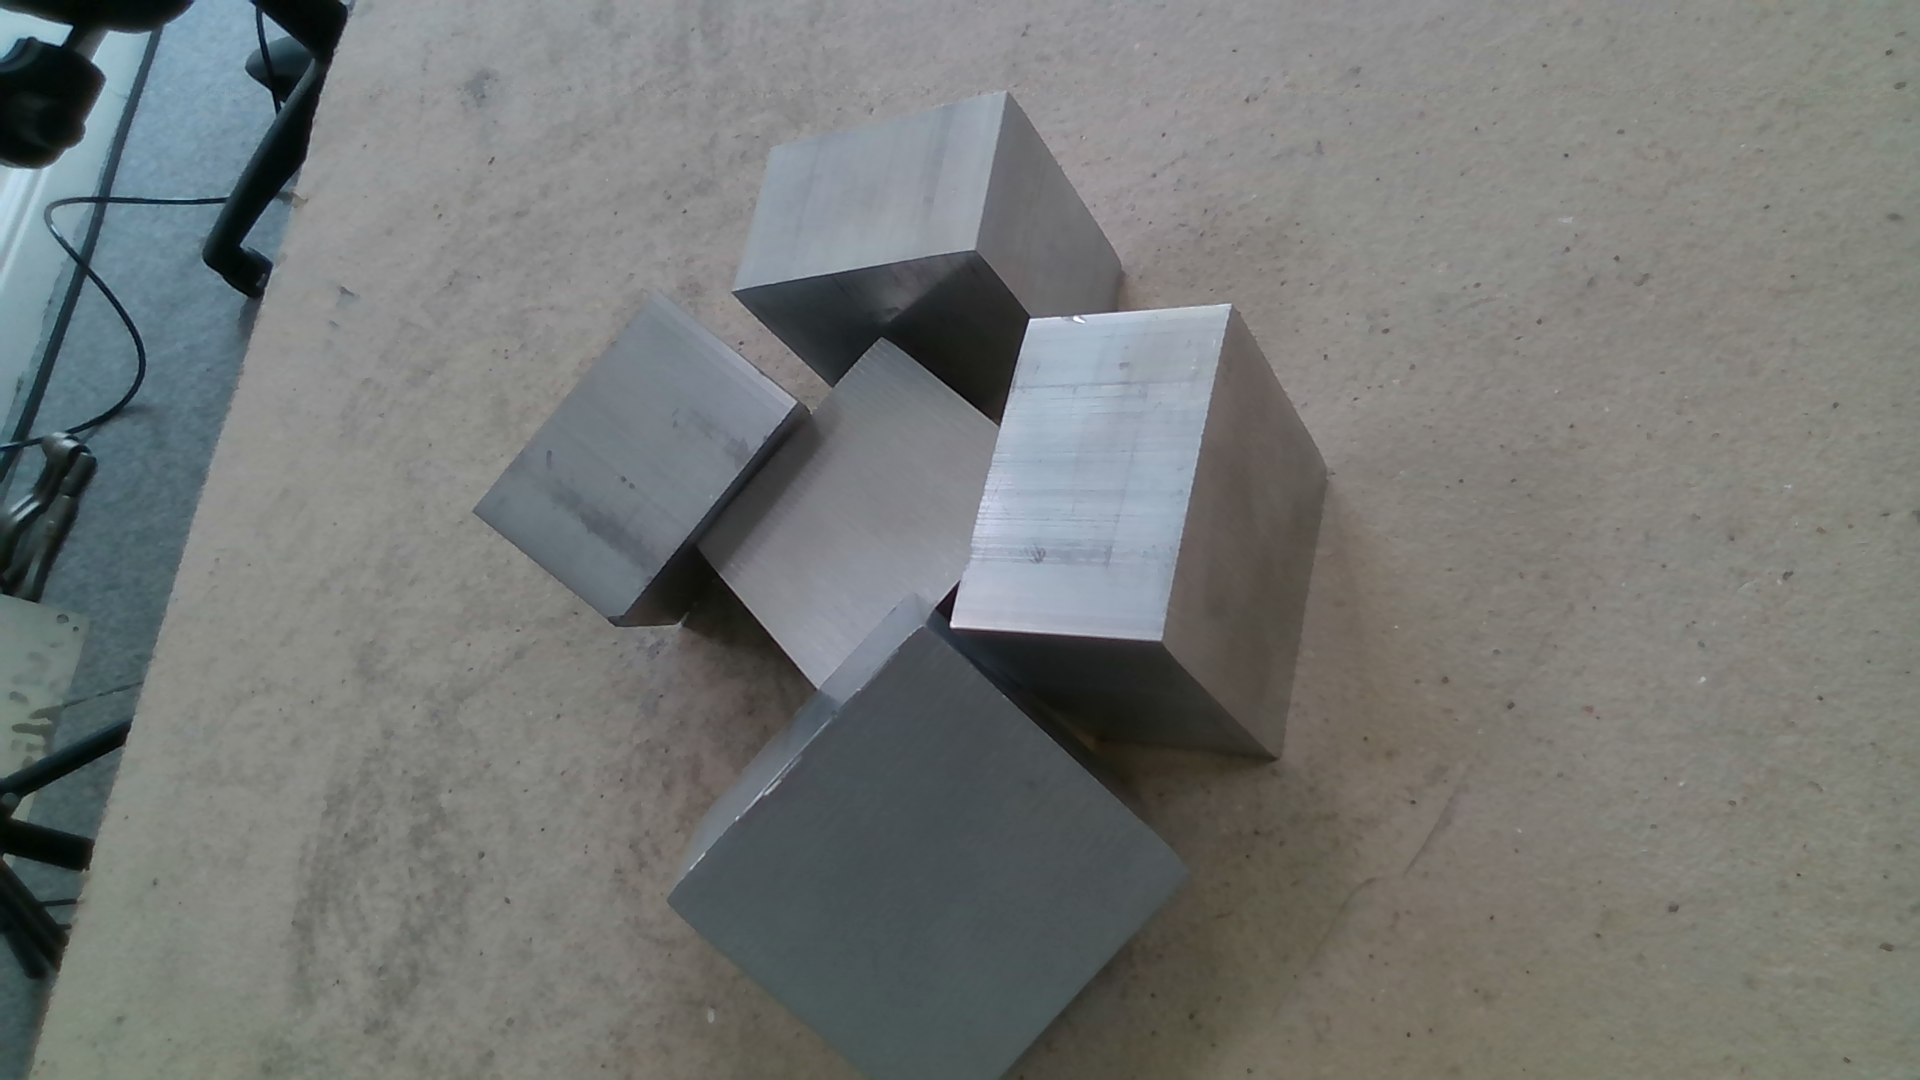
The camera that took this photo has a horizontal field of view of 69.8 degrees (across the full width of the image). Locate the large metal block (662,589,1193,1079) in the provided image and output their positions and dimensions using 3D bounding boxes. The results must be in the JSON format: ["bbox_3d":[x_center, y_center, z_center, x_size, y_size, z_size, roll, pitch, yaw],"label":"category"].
[{"bbox_3d":[-0.008,0.070,0.318,0.080,0.080,0.050,-47,7,2],"label":"large metal block"}]

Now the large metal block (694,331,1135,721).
[{"bbox_3d":[-0.014,0.002,0.382,0.080,0.050,0.080,-49,51,2],"label":"large metal block"}]

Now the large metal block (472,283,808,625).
[{"bbox_3d":[-0.088,-0.022,0.415,0.050,0.080,0.080,39,88,2],"label":"large metal block"}]

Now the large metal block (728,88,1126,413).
[{"bbox_3d":[-0.007,-0.077,0.404,0.080,0.080,0.050,-3,64,31],"label":"large metal block"}]

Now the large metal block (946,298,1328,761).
[{"bbox_3d":[0.047,0.000,0.329,0.050,0.080,0.080,2,67,32],"label":"large metal block"}]
